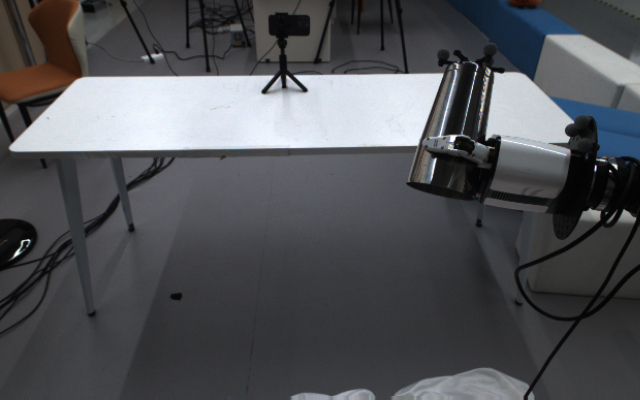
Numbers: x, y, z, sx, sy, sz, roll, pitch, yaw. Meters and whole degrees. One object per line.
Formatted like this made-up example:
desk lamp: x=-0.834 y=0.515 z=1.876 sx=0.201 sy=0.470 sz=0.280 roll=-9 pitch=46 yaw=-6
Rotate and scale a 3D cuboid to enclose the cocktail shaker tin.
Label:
cocktail shaker tin: x=0.182 y=-0.093 z=0.655 sx=0.093 sy=0.170 sz=0.093 roll=15 pitch=-4 yaw=1
